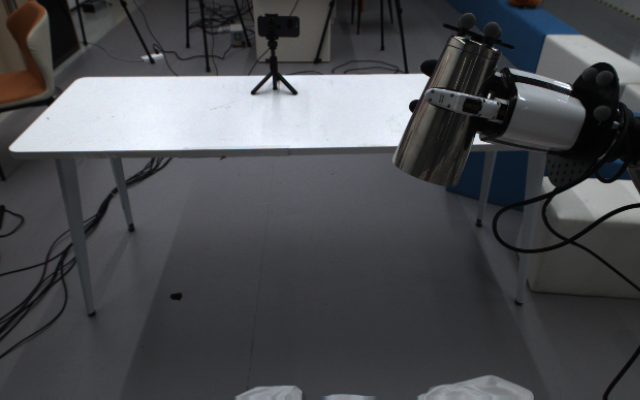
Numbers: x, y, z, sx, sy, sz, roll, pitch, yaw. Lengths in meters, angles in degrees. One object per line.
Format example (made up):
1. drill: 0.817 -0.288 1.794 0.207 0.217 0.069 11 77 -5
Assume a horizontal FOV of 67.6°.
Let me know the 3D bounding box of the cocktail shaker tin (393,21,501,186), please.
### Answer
1. cocktail shaker tin: 0.166 -0.115 0.616 0.093 0.170 0.093 15 21 -6
